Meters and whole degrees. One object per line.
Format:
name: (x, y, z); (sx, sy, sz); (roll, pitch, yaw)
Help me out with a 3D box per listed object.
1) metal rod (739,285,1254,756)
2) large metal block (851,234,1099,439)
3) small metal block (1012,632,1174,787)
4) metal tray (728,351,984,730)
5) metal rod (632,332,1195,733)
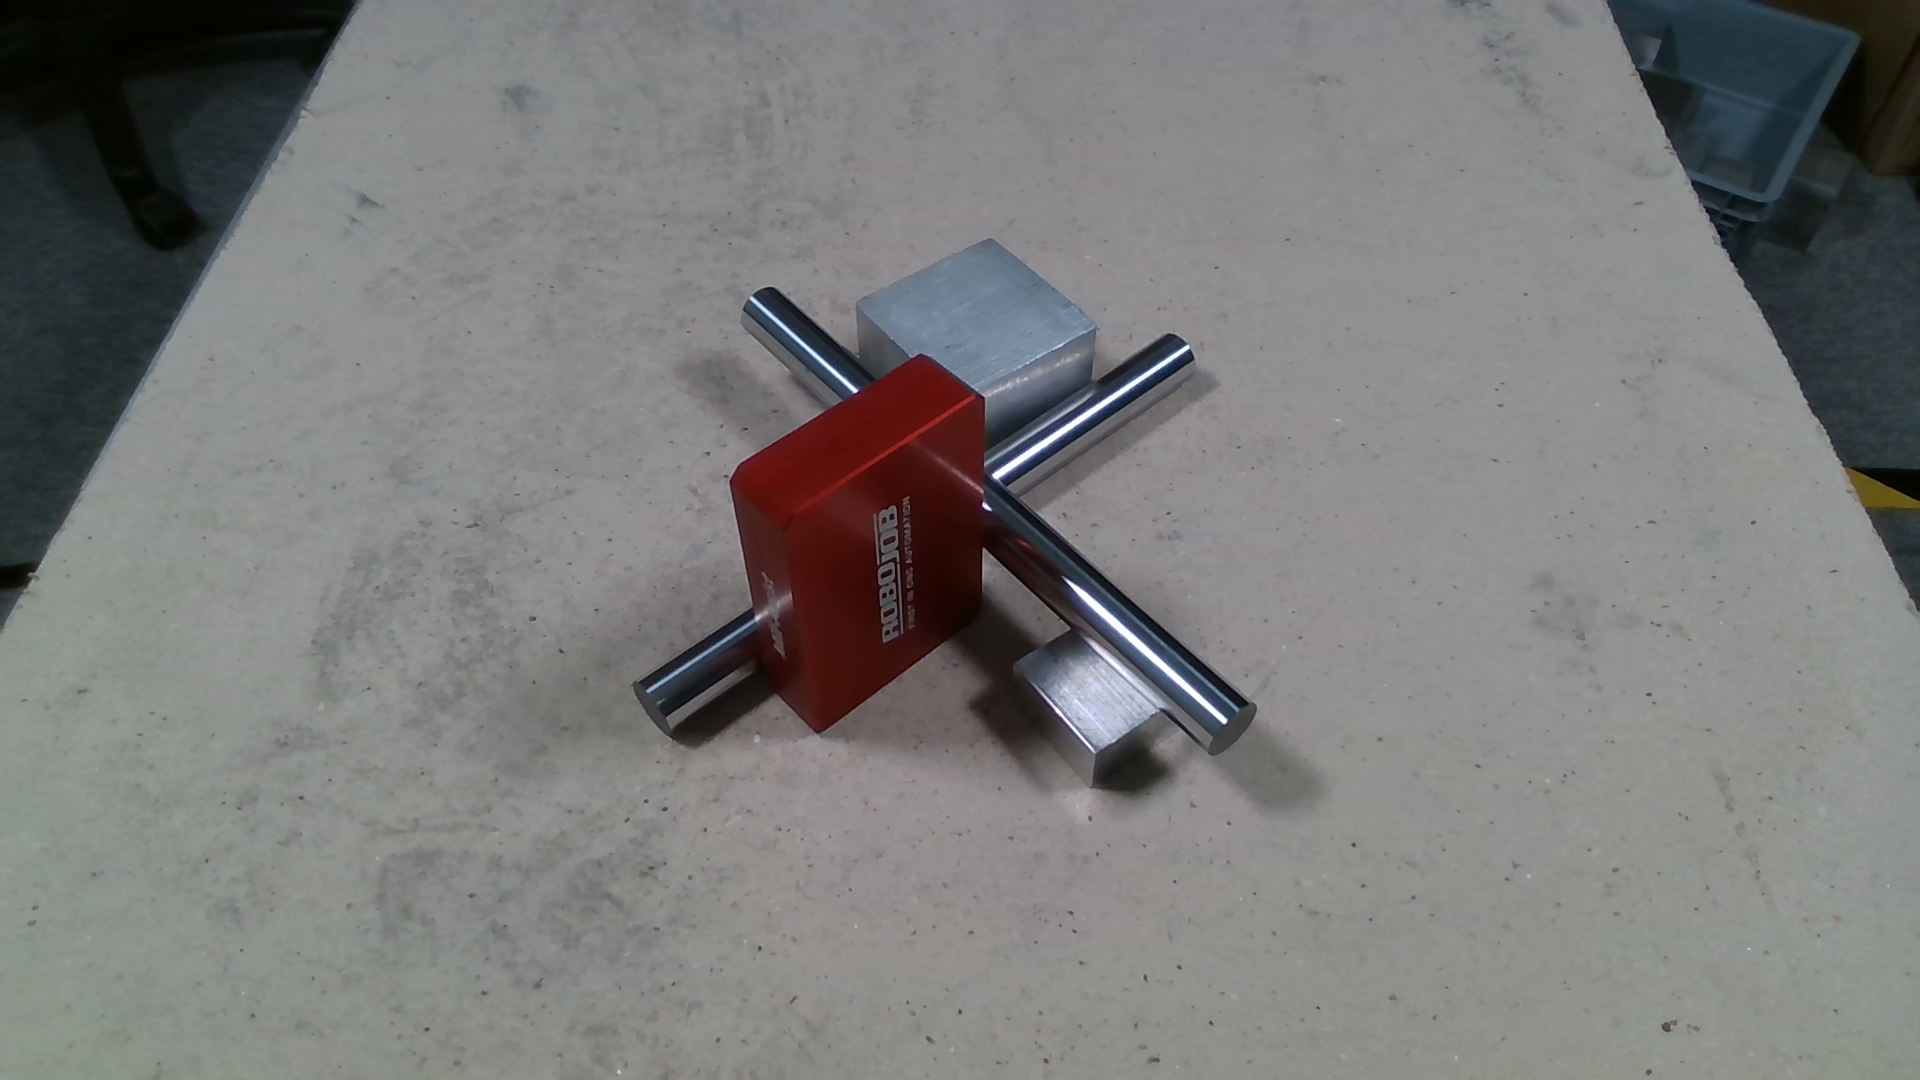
metal rod: (0.002, -0.020, 0.571); (0.025, 0.025, 0.299); (-32, 57, -24)
large metal block: (0.006, -0.088, 0.643); (0.080, 0.050, 0.080); (-30, 56, -23)
small metal block: (0.055, 0.060, 0.537); (0.050, 0.025, 0.050); (-29, 56, -22)
metal tray: (-0.034, 0.004, 0.515); (0.090, 0.130, 0.030); (-35, 58, -26)
metal rod: (-0.008, -0.012, 0.597); (0.300, 0.025, 0.025); (-34, 58, -25)
